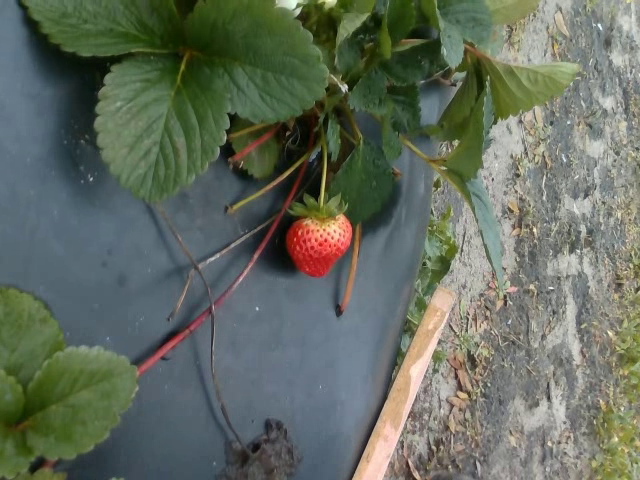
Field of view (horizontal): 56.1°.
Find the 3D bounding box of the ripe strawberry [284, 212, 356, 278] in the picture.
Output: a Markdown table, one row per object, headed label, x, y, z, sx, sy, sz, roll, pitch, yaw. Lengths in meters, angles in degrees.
| label | x | y | z | sx | sy | sz | roll | pitch | yaw |
| --- | --- | --- | --- | --- | --- | --- | --- | --- | --- |
| ripe strawberry | 0.002 | 0.006 | 0.443 | 0.049 | 0.065 | 0.062 | 19 | 39 | 14 |
